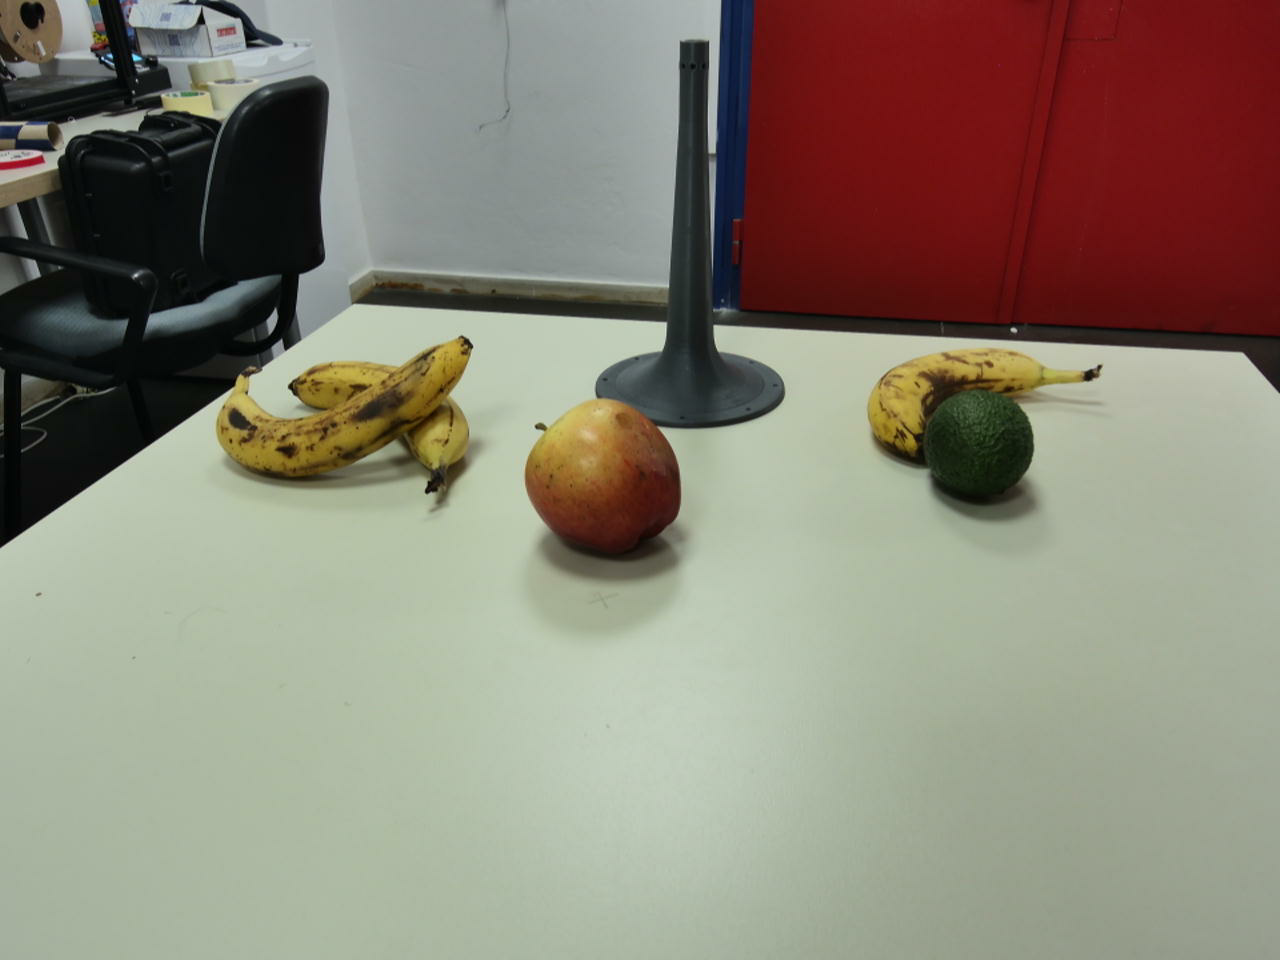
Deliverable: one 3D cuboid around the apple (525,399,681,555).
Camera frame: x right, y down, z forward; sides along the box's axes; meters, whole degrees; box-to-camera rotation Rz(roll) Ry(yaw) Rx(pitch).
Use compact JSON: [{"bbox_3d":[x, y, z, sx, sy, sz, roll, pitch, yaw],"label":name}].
[{"bbox_3d":[-0.022,-0.002,0.576,0.086,0.084,0.093,-11,28,-21],"label":"apple"}]
